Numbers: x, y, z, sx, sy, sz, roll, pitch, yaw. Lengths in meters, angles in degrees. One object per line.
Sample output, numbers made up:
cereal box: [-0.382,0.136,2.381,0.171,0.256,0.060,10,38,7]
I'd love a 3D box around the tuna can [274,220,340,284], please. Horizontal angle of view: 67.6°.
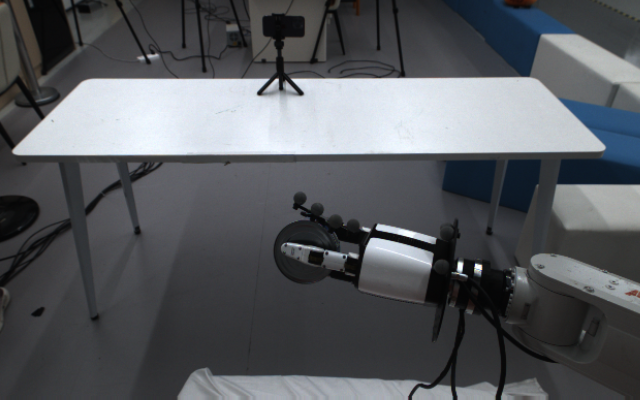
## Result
tuna can: [-0.015,0.068,0.649,0.085,0.085,0.034,10,5,11]
